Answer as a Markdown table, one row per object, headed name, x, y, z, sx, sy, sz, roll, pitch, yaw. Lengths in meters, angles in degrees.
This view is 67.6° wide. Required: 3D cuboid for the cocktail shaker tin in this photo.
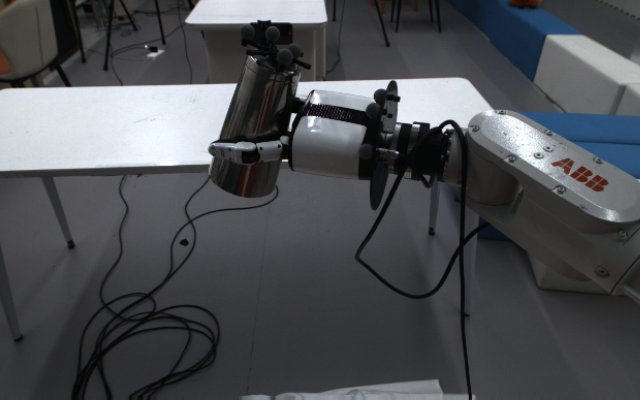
| name | x | y | z | sx | sy | sz | roll | pitch | yaw |
| --- | --- | --- | --- | --- | --- | --- | --- | --- | --- |
| cocktail shaker tin | -0.079 | -0.100 | 0.616 | 0.093 | 0.170 | 0.093 | 15 | 31 | -10 |
